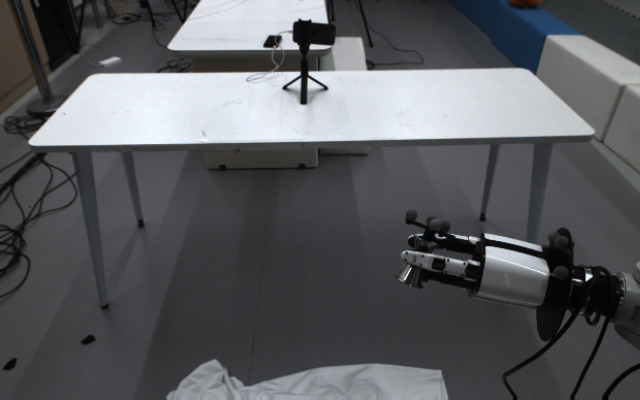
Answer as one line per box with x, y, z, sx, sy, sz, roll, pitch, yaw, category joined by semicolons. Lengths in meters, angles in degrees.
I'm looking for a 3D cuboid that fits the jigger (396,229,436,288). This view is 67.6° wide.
0.142;0.088;0.709;0.043;0.071;0.043;22;6;-2;jigger
